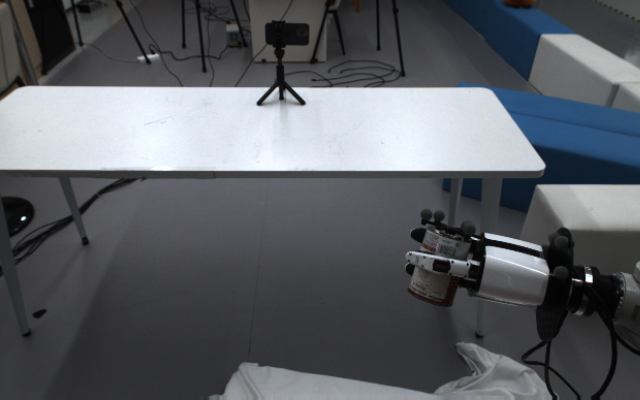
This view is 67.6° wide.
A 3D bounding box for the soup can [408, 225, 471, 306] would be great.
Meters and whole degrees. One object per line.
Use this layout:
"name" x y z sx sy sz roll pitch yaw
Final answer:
"soup can" 0.177 0.094 0.707 0.067 0.101 0.067 15 7 -2
